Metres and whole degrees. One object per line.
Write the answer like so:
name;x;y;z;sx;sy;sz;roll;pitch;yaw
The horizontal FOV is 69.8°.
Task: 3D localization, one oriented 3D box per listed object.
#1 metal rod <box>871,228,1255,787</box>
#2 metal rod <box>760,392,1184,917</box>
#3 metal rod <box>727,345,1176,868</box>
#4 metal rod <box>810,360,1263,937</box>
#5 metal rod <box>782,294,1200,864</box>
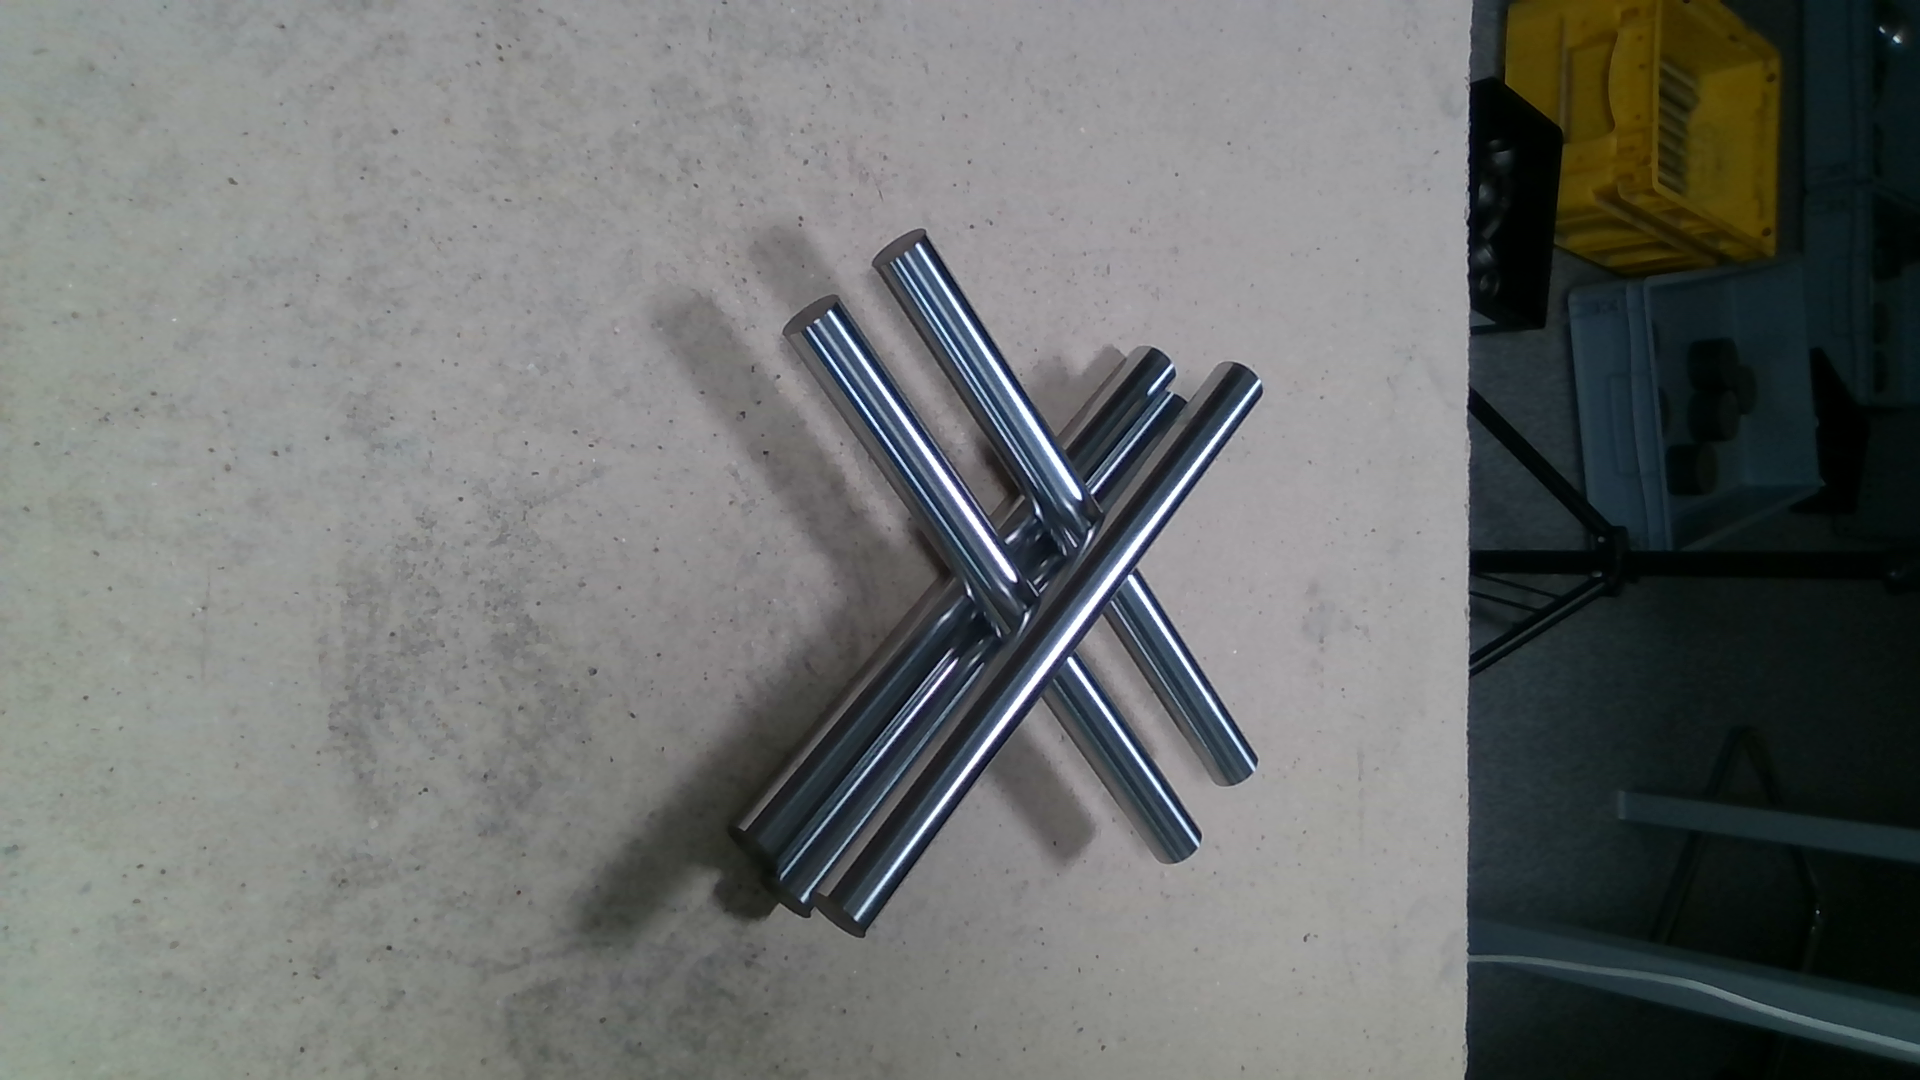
metal rod;0.053;-0.002;0.596;0.025;0.025;0.301;-50;120;-29
metal rod;0.018;0.037;0.599;0.299;0.025;0.025;-49;119;-29
metal rod;0.008;0.016;0.590;0.299;0.025;0.025;-49;119;-29
metal rod;0.042;0.030;0.553;0.299;0.025;0.025;-50;120;-28
metal rod;0.022;0.028;0.569;0.025;0.025;0.301;-50;120;-29
